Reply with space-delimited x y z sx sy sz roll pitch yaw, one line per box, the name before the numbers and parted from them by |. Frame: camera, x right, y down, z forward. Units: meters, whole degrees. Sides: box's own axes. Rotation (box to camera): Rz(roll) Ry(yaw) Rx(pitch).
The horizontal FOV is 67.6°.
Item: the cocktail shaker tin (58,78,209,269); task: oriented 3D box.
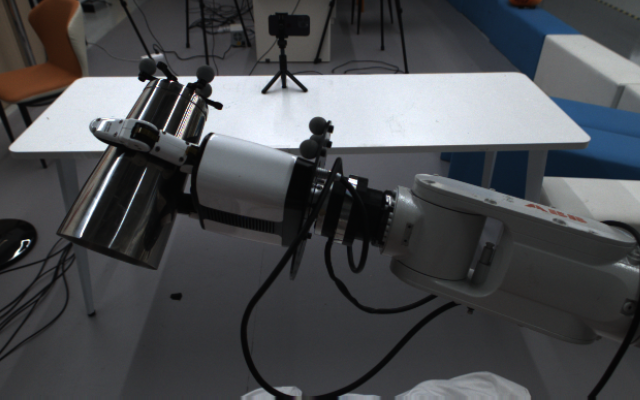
cocktail shaker tin | -0.169 -0.026 0.469 0.093 0.093 0.170 12 71 14
